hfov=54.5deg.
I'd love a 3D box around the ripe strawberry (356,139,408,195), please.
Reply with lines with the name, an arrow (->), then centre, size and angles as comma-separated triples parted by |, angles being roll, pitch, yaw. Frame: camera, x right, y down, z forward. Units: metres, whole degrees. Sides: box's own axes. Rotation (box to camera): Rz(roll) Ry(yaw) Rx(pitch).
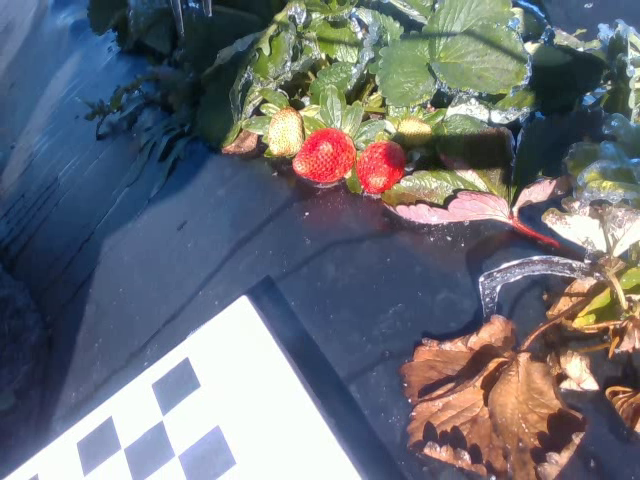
ripe strawberry -> 0.038, -0.044, 0.378 | 0.036, 0.041, 0.030 | -19, -48, 17

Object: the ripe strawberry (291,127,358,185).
ripe strawberry -> -0.001, -0.049, 0.381 | 0.036, 0.040, 0.051 | 2, 19, 32
